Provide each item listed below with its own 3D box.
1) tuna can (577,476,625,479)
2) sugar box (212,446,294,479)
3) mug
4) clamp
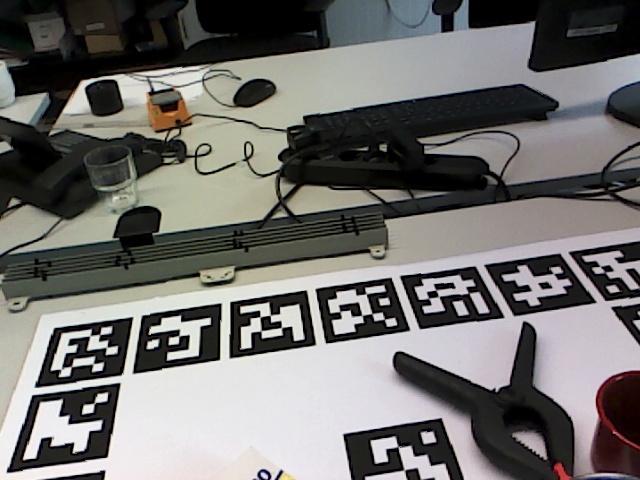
[{"bbox_3d":[0.223,0.225,0.484,0.086,0.085,0.034,3,36,11],"label":"tuna can"},{"bbox_3d":[-0.031,0.253,0.507,0.092,0.045,0.178,-32,37,-32],"label":"sugar box"},{"bbox_3d":[0.276,0.191,0.533,0.093,0.081,0.118,-25,36,-25],"label":"mug"},{"bbox_3d":[0.178,0.174,0.620,0.165,0.036,0.204,-14,37,-11],"label":"clamp"}]
